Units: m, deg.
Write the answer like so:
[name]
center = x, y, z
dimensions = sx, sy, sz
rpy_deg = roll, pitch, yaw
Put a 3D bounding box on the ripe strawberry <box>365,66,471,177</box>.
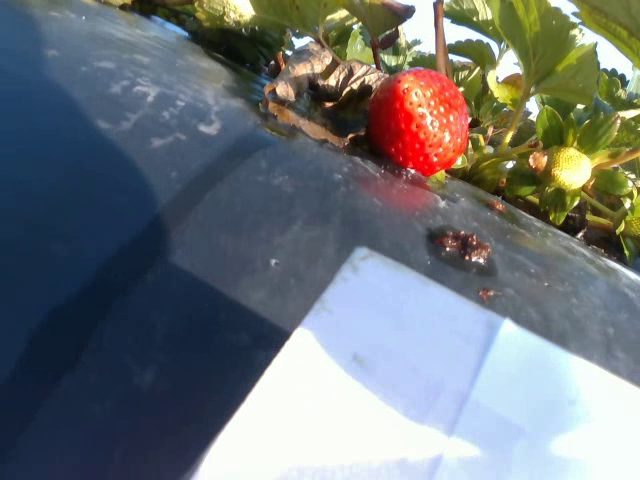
[ripe strawberry]
center = 0.027, -0.038, 0.182
dimensions = 0.047, 0.038, 0.054
rpy_deg = 48, 12, 22
